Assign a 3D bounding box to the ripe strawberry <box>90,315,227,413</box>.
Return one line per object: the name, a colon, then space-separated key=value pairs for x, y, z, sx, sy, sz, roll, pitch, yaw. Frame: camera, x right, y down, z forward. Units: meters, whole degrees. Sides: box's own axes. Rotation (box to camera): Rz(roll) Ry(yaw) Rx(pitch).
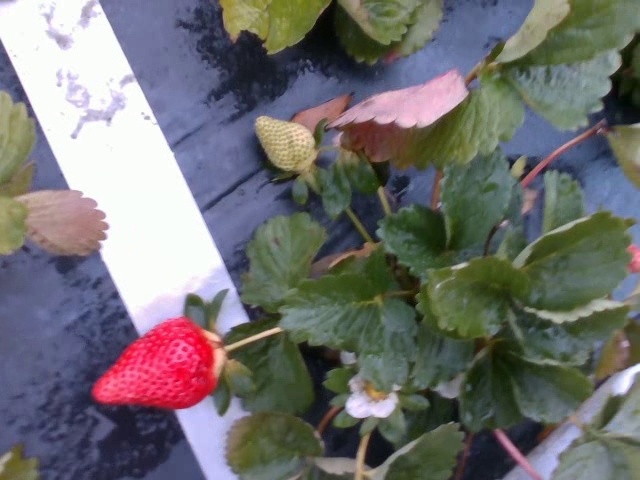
ripe strawberry: x=-0.065 y=0.051 z=0.233 sx=0.051 sy=0.042 sz=0.037 roll=-15 pitch=29 yaw=-29
